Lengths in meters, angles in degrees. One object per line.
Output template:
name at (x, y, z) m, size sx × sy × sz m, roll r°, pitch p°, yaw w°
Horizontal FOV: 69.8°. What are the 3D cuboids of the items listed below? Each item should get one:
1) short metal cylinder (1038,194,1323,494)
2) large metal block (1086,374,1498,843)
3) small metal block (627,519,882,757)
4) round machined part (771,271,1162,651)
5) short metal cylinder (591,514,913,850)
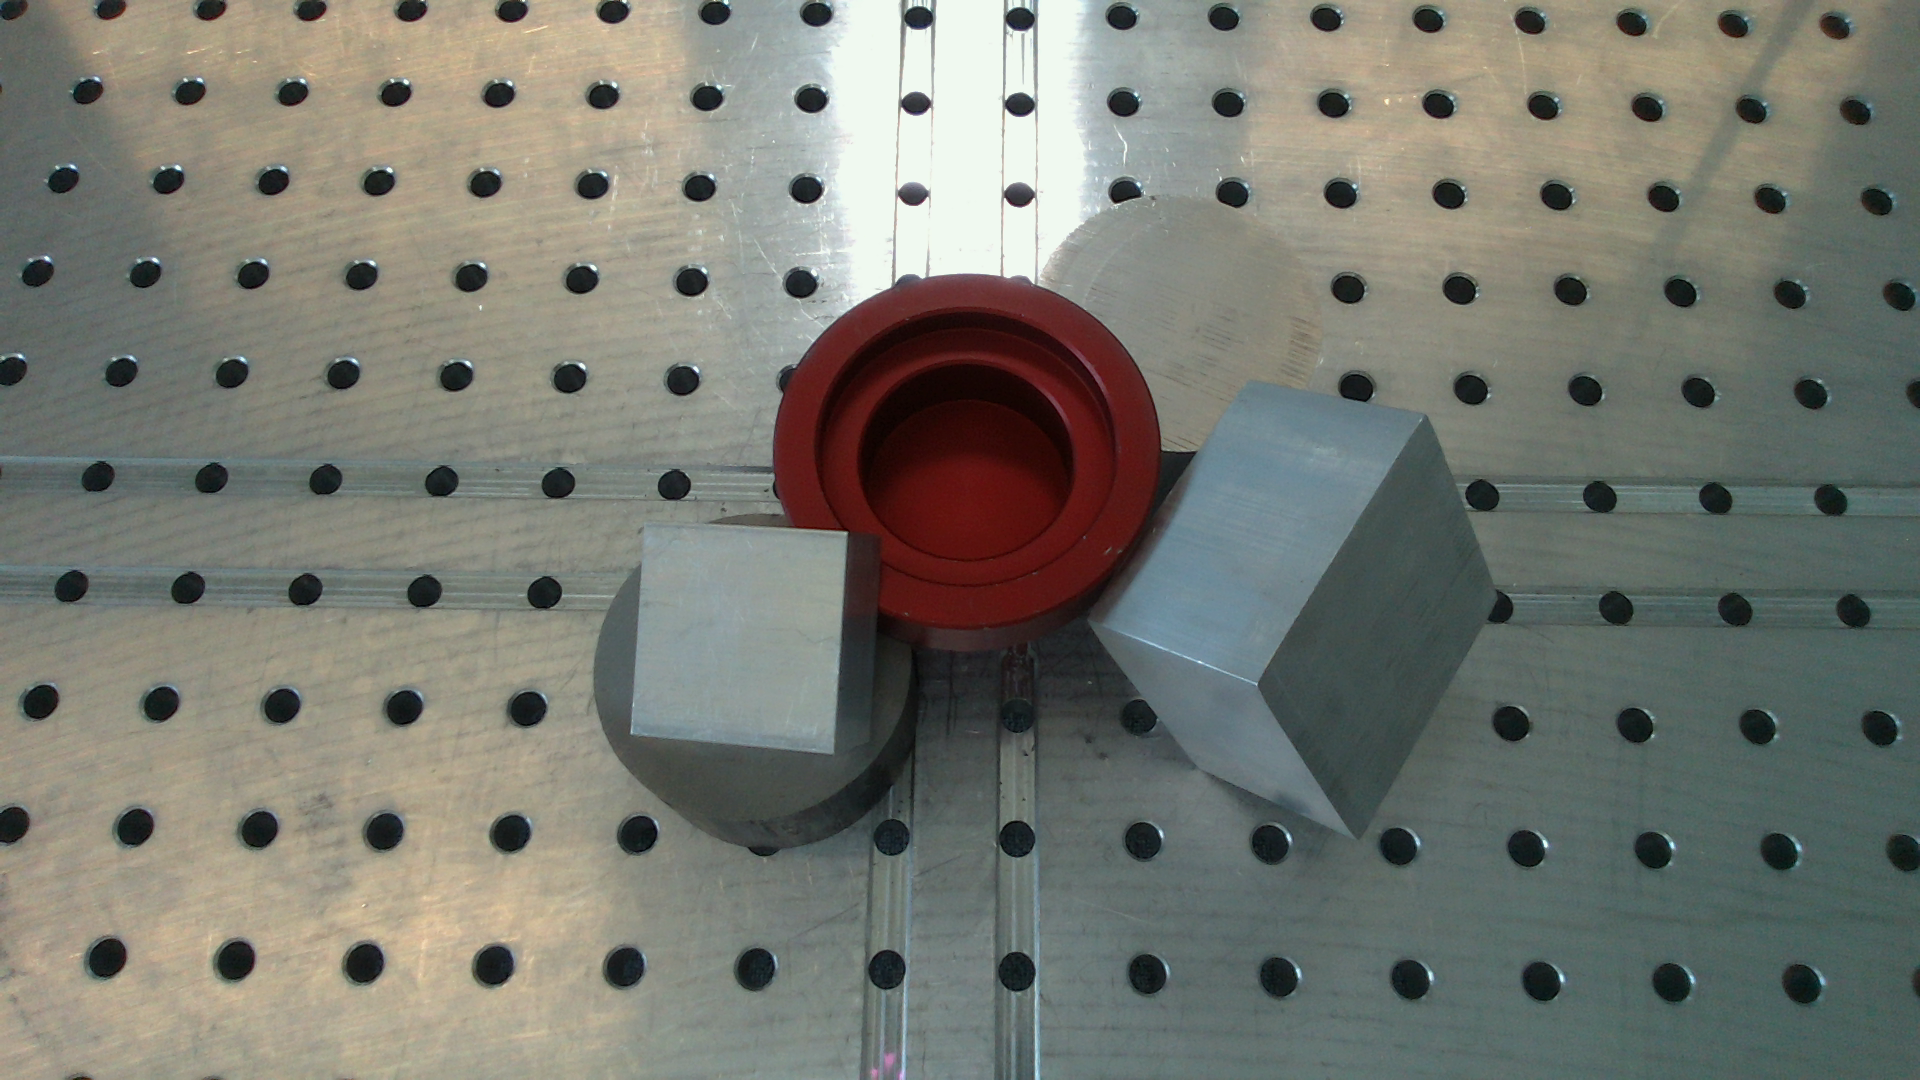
short metal cylinder at (0.060, -0.053, 0.403) m, size 0.080 × 0.050 × 0.080 m, roll 0°, pitch 70°, yaw 0°
large metal block at (0.089, 0.017, 0.355) m, size 0.050 × 0.080 × 0.080 m, roll 19°, pitch 67°, yaw 43°
small metal block at (-0.047, 0.022, 0.322) m, size 0.050 × 0.025 × 0.050 m, roll 3°, pitch 89°, yaw 14°
round machined part at (0.002, -0.018, 0.363) m, size 0.098 × 0.042 × 0.098 m, roll 0°, pitch 70°, yaw 0°
short metal cylinder at (-0.052, 0.039, 0.369) m, size 0.080 × 0.050 × 0.080 m, roll 0°, pitch 70°, yaw 0°
